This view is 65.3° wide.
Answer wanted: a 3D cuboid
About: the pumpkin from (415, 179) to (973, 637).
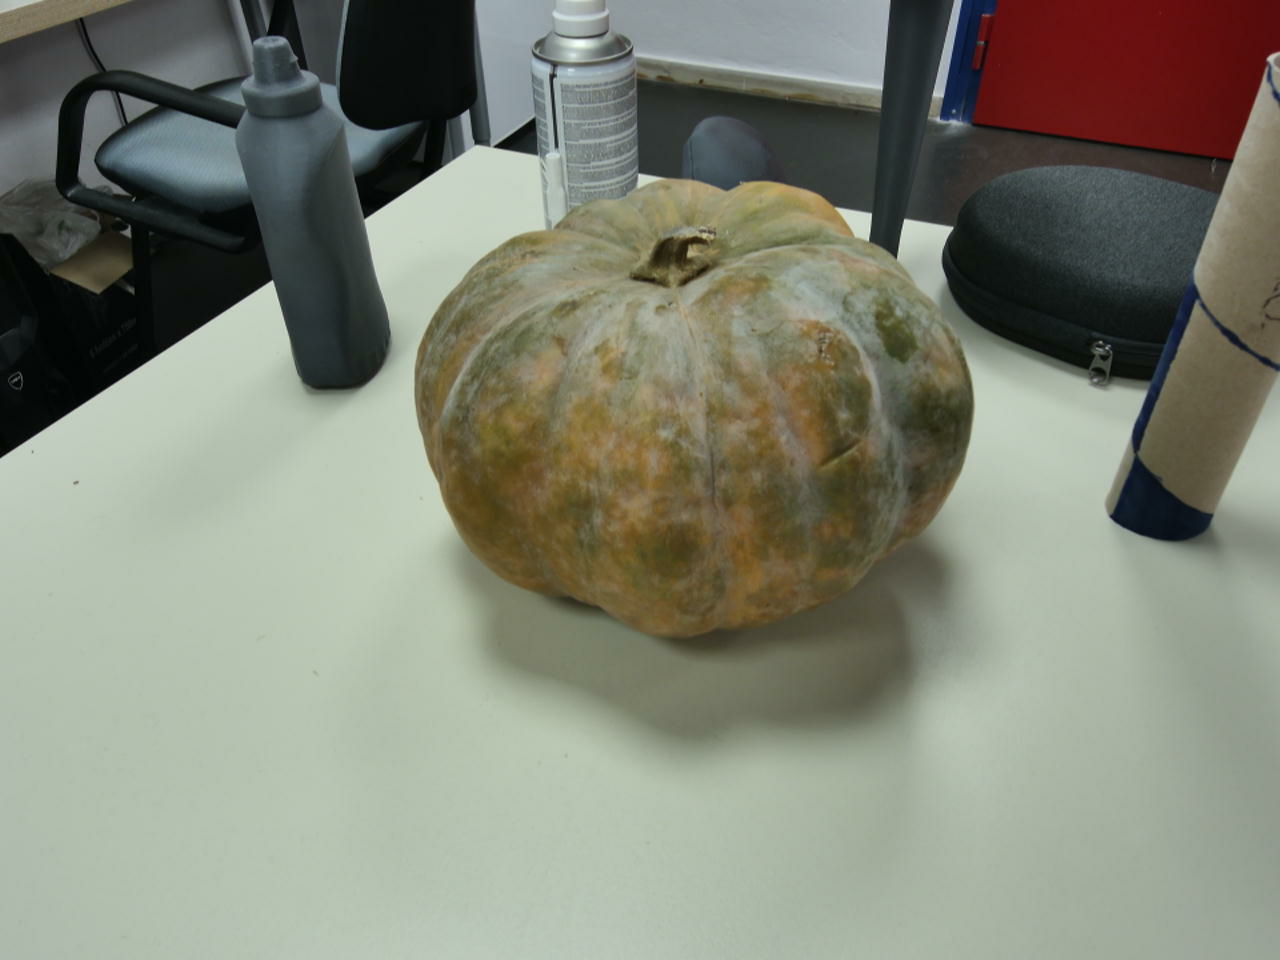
[{"bbox_3d":[0.019,-0.041,0.464,0.252,0.169,0.251,0,38,0],"label":"pumpkin"}]
